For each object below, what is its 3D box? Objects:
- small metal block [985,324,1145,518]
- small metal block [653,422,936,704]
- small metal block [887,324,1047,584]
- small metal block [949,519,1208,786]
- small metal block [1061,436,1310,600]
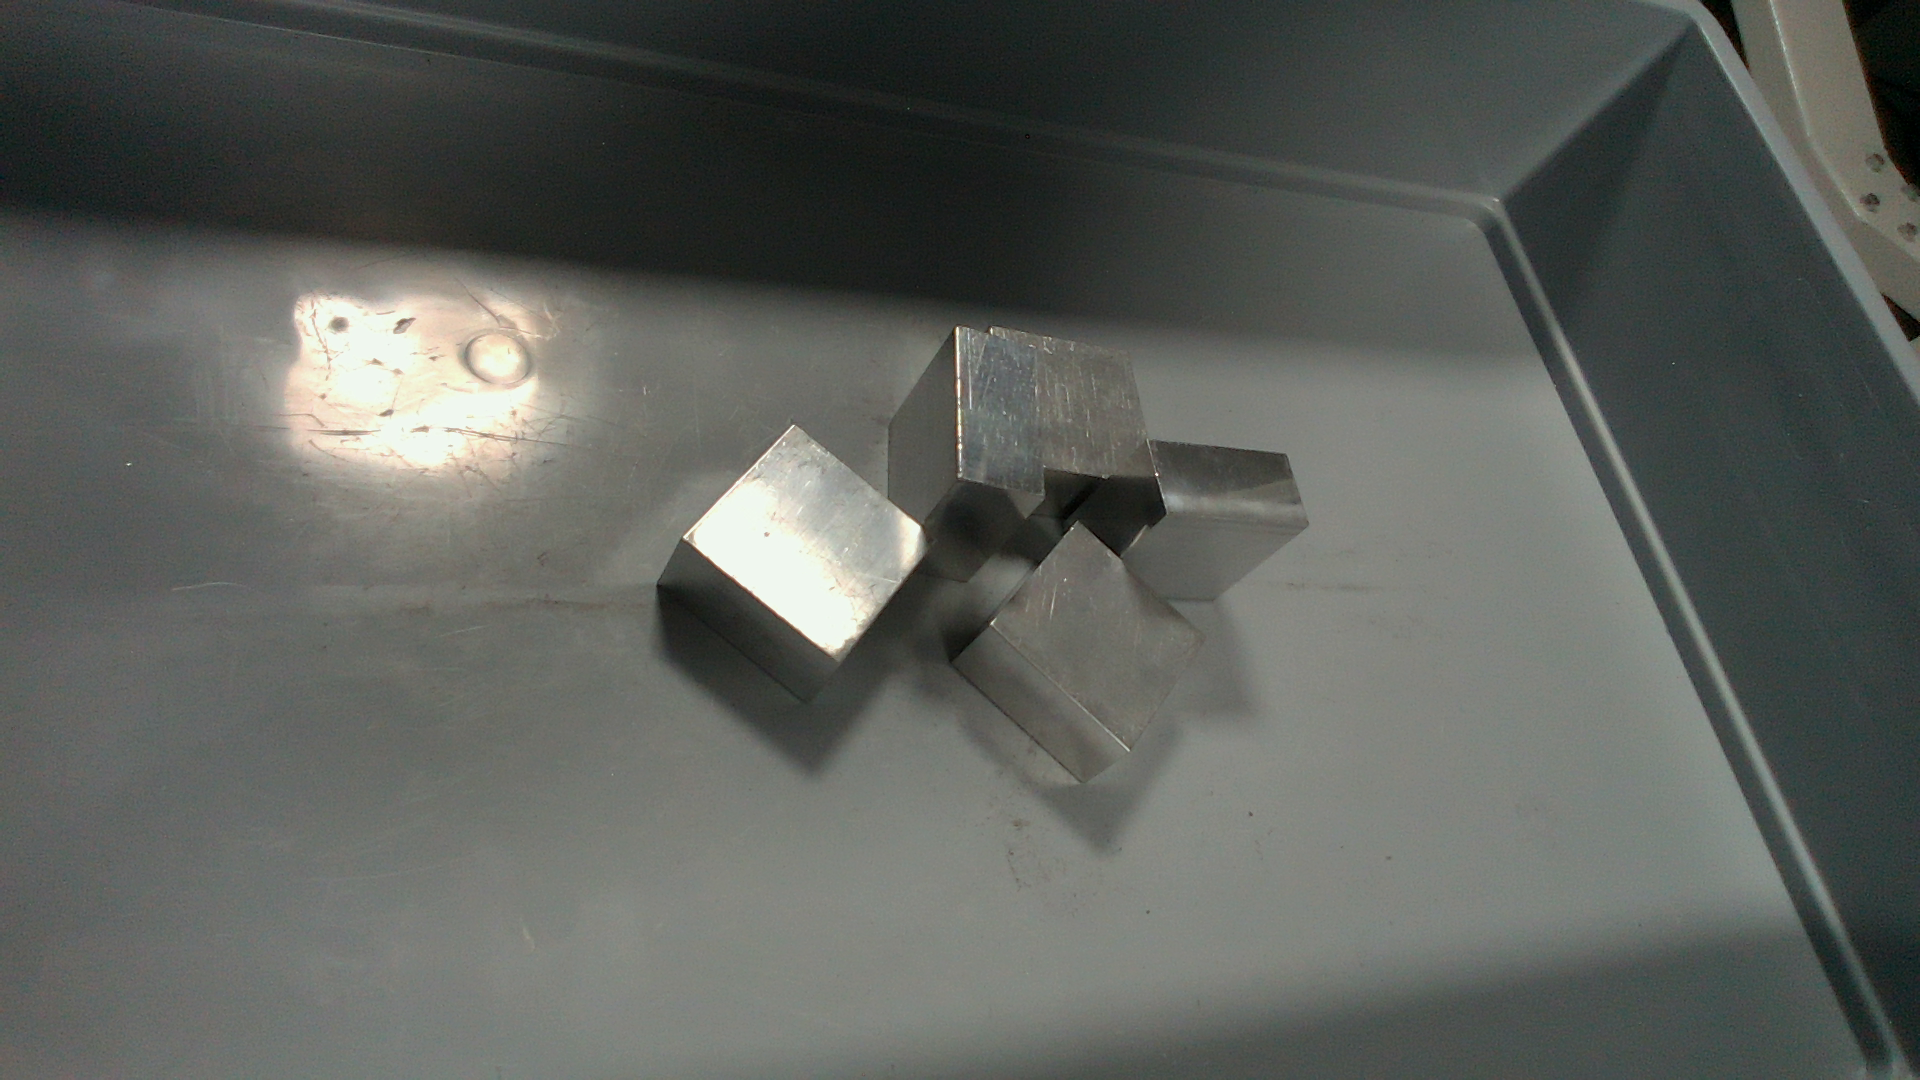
[{"bbox_3d":[0.029,-0.035,0.425,0.050,0.025,0.050,6,59,-25],"label":"small metal block"},{"bbox_3d":[-0.043,0.005,0.362,0.050,0.025,0.050,39,51,-2],"label":"small metal block"},{"bbox_3d":[0.000,-0.023,0.386,0.025,0.050,0.050,12,57,-22],"label":"small metal block"},{"bbox_3d":[0.034,0.031,0.387,0.050,0.025,0.050,42,51,1],"label":"small metal block"},{"bbox_3d":[0.066,-0.005,0.410,0.050,0.050,0.025,3,60,-27],"label":"small metal block"}]
